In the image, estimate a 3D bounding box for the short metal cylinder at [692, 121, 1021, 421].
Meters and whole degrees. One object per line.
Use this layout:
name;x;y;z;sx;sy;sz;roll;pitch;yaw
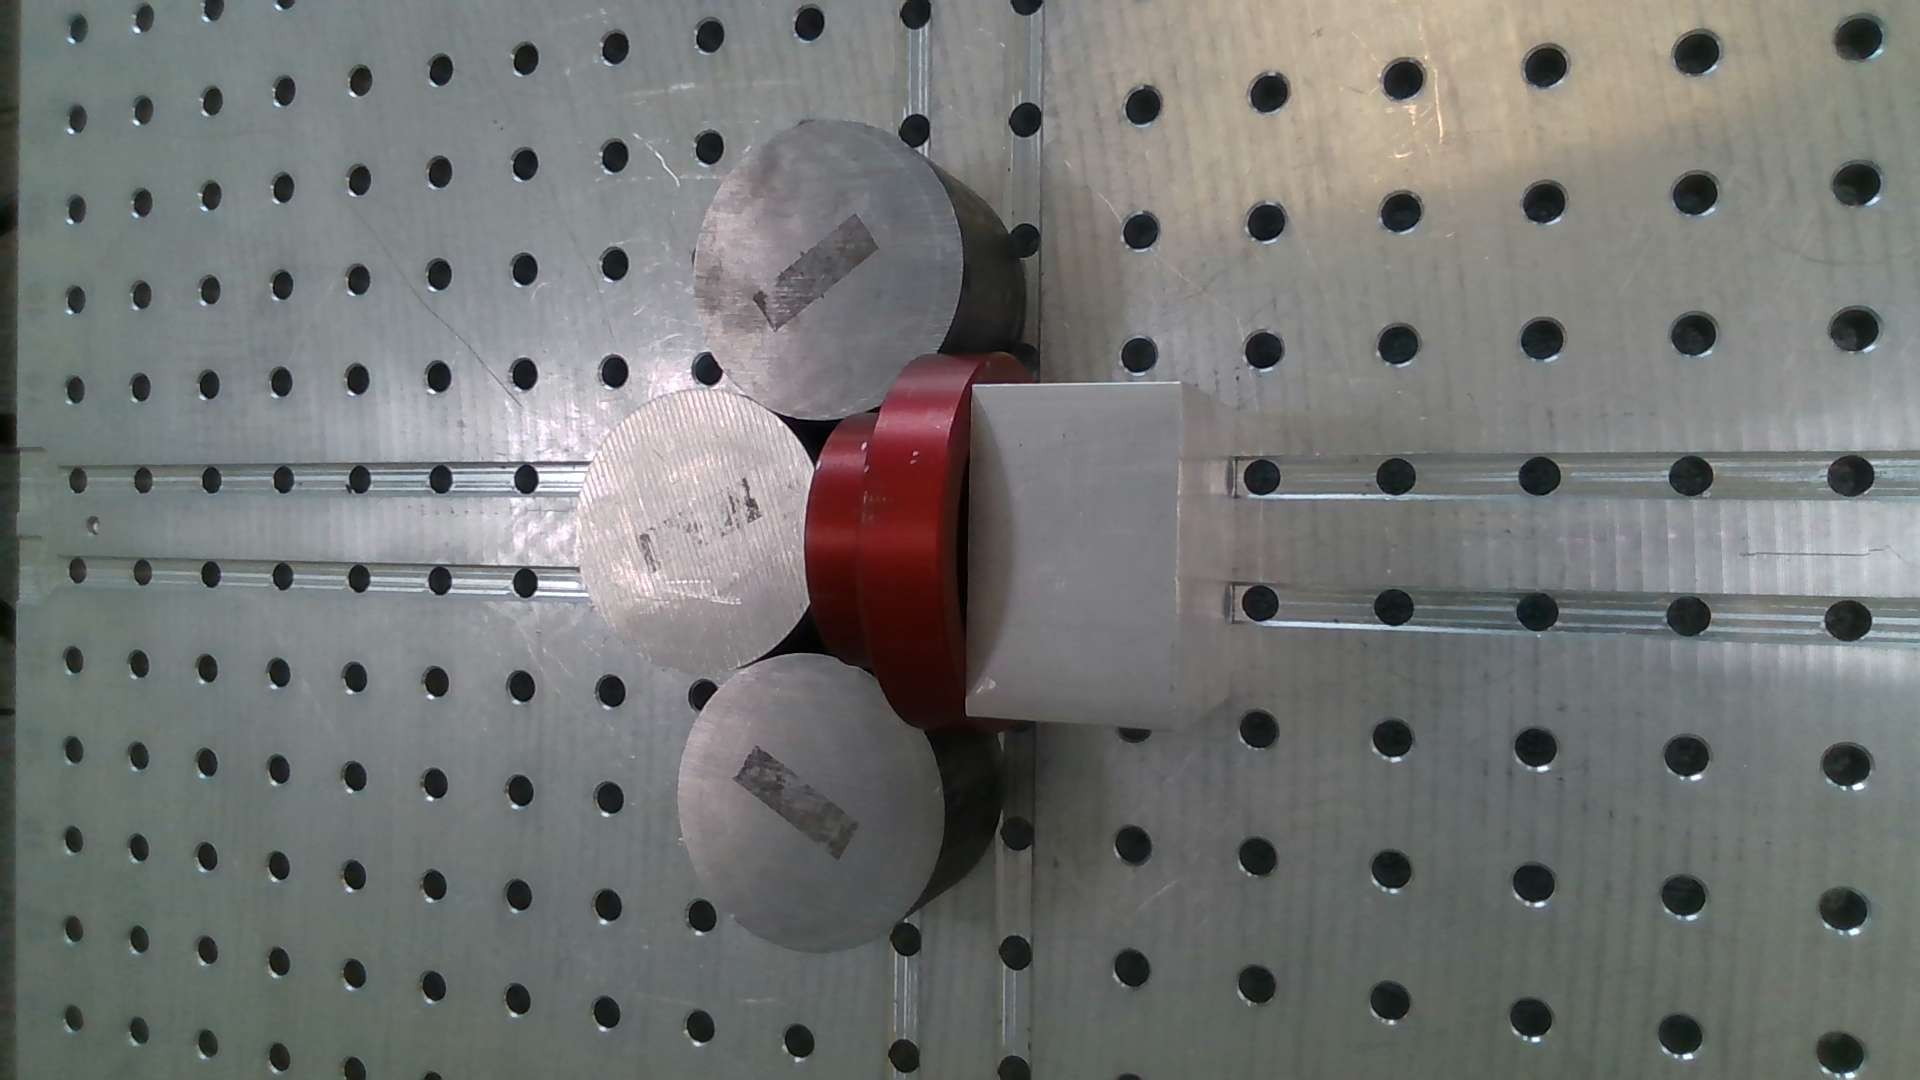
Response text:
short metal cylinder;-0.028;-0.072;0.393;0.080;0.050;0.080;0;90;20

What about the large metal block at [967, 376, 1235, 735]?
large metal block;0.039;0.003;0.352;0.050;0.080;0.080;1;90;20

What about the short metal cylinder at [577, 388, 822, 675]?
short metal cylinder;-0.065;-0.002;0.407;0.080;0.050;0.080;0;90;20

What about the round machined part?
round machined part;-0.009;0.000;0.359;0.042;0.098;0.098;2;91;20

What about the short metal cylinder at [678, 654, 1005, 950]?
short metal cylinder;-0.033;0.071;0.396;0.080;0.050;0.080;0;90;20
